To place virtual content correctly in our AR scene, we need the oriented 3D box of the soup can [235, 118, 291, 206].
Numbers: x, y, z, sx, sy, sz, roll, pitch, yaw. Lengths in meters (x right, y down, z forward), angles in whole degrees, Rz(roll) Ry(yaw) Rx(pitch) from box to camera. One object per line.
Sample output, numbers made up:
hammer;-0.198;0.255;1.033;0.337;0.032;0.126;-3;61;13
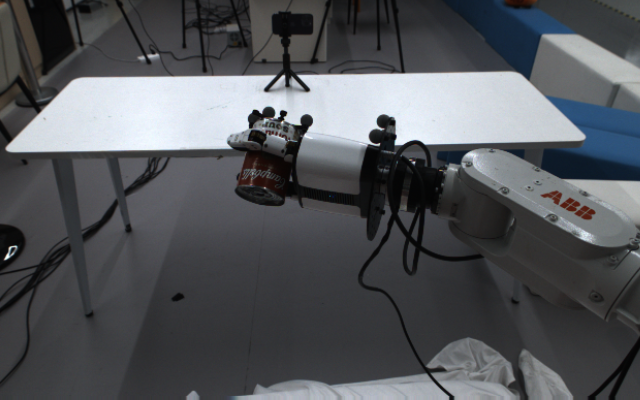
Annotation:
soup can;-0.068;-0.050;0.649;0.067;0.067;0.101;9;71;9
